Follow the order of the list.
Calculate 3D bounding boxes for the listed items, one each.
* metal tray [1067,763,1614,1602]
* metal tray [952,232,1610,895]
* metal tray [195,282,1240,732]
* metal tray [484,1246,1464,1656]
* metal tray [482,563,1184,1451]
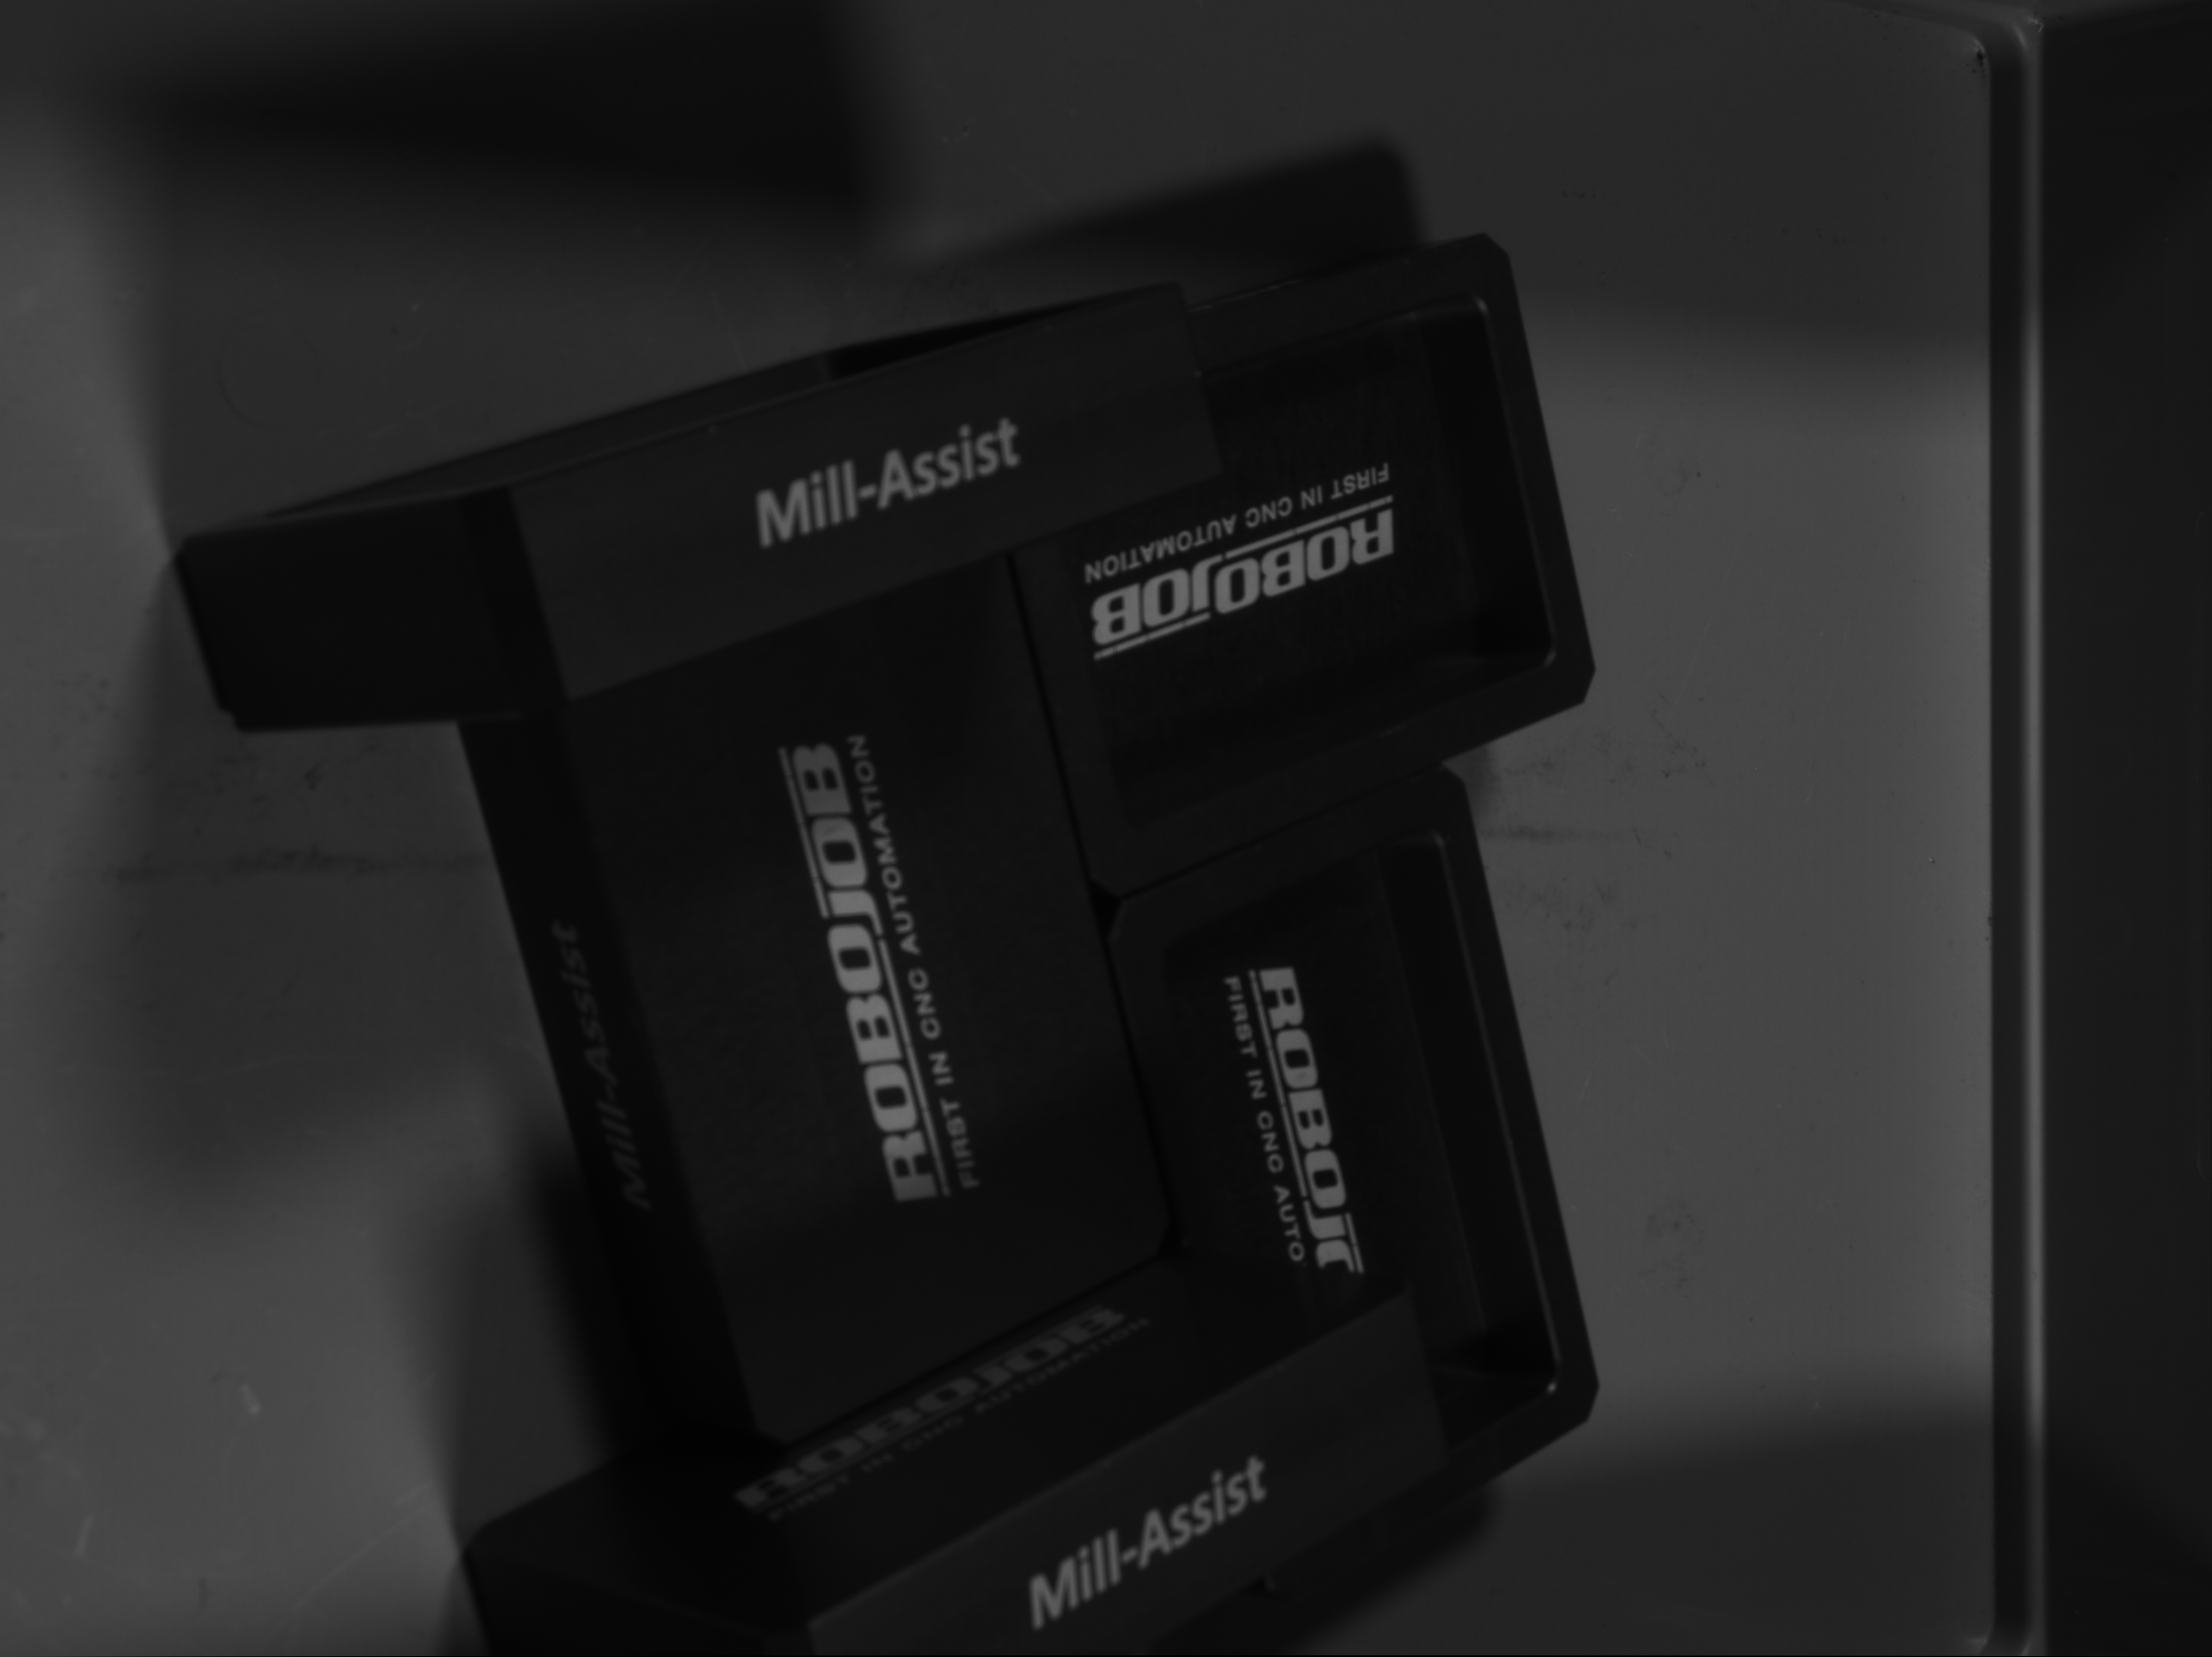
[{"bbox_3d":[0.041,0.062,0.666,0.090,0.030,0.130,-22,104,-38],"label":"metal tray"},{"bbox_3d":[0.030,-0.049,0.657,0.130,0.030,0.090,-22,104,-38],"label":"metal tray"},{"bbox_3d":[-0.056,-0.048,0.544,0.130,0.090,0.030,-23,104,-38],"label":"metal tray"},{"bbox_3d":[-0.019,0.106,0.576,0.130,0.090,0.030,-22,104,-38],"label":"metal tray"},{"bbox_3d":[-0.043,0.023,0.596,0.090,0.030,0.130,-22,104,-38],"label":"metal tray"}]
